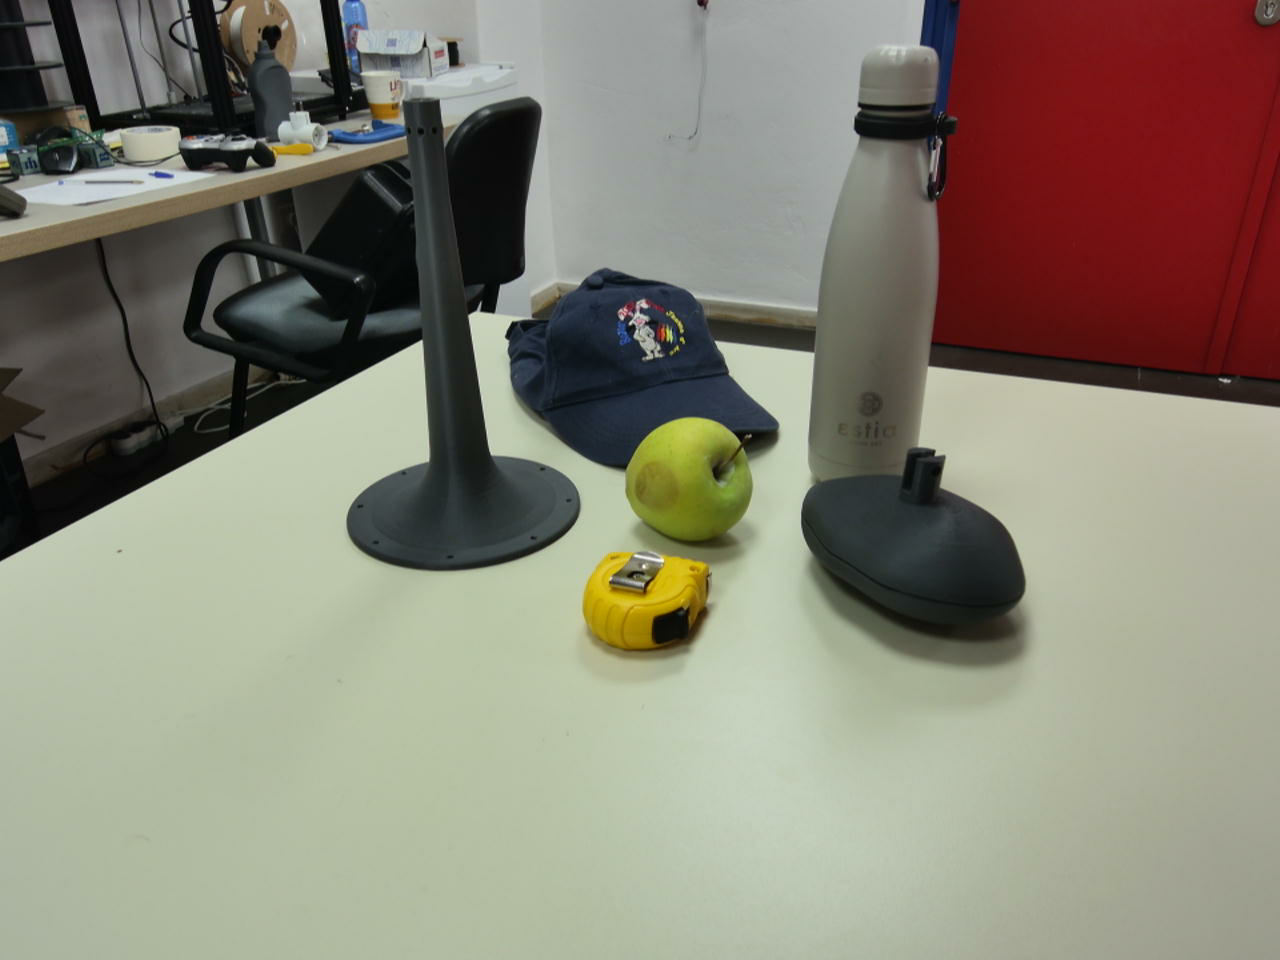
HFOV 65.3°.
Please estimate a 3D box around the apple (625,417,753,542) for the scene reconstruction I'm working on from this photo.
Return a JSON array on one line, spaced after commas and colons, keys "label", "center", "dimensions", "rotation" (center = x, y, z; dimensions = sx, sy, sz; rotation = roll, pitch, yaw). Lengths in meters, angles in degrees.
[{"label": "apple", "center": [0.030, -0.002, 0.607], "dimensions": [0.072, 0.075, 0.077], "rotation": [-10, 27, -20]}]
